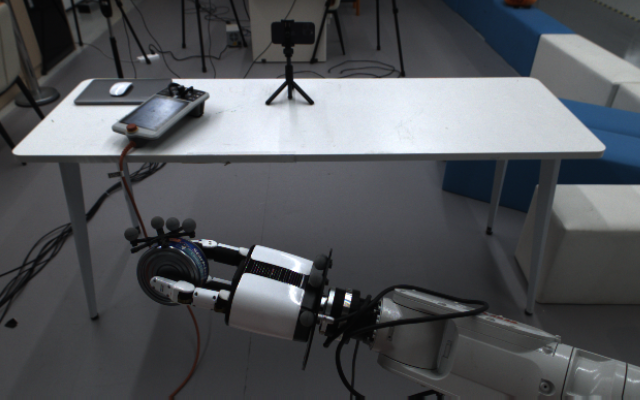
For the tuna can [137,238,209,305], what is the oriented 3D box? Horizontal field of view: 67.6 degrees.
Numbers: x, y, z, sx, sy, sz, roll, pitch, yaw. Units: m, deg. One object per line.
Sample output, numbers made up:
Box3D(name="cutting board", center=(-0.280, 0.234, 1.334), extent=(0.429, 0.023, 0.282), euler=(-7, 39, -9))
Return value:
Box3D(name="tuna can", center=(-0.187, 0.099, 0.623), extent=(0.085, 0.085, 0.034), euler=(6, 18, 6))
